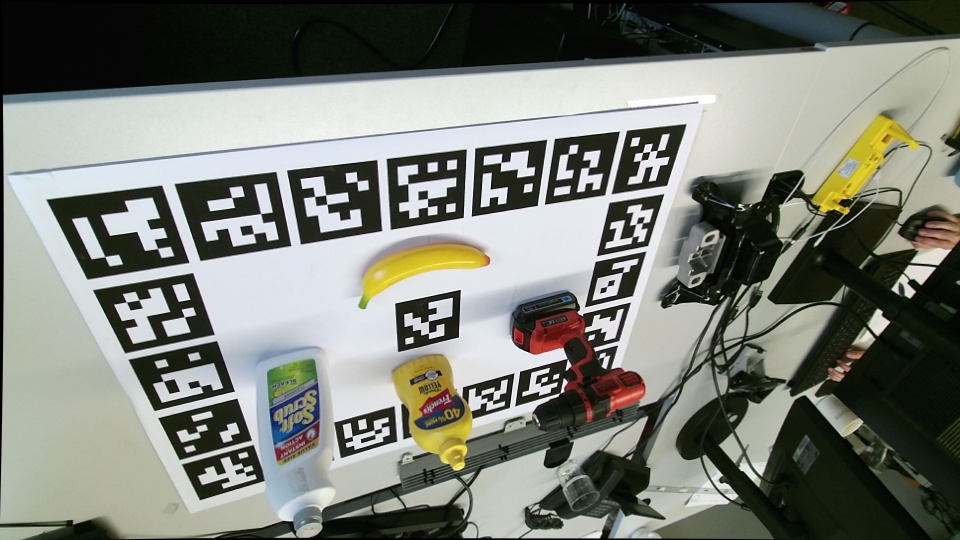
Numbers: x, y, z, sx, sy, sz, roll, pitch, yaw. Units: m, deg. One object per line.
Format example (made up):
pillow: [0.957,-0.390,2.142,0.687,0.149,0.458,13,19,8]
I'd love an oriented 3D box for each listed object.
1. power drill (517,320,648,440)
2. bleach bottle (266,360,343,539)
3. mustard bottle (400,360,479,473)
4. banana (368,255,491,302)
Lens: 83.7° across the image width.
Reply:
power drill: [0.134,0.168,0.828,0.185,0.186,0.057,-19,130,-18]
bleach bottle: [-0.220,0.227,0.696,0.103,0.250,0.068,-5,125,-23]
mustard bottle: [-0.055,0.225,0.818,0.096,0.191,0.058,-17,129,-12]
banana: [-0.070,0.015,0.744,0.198,0.039,0.074,-18,128,-18]
